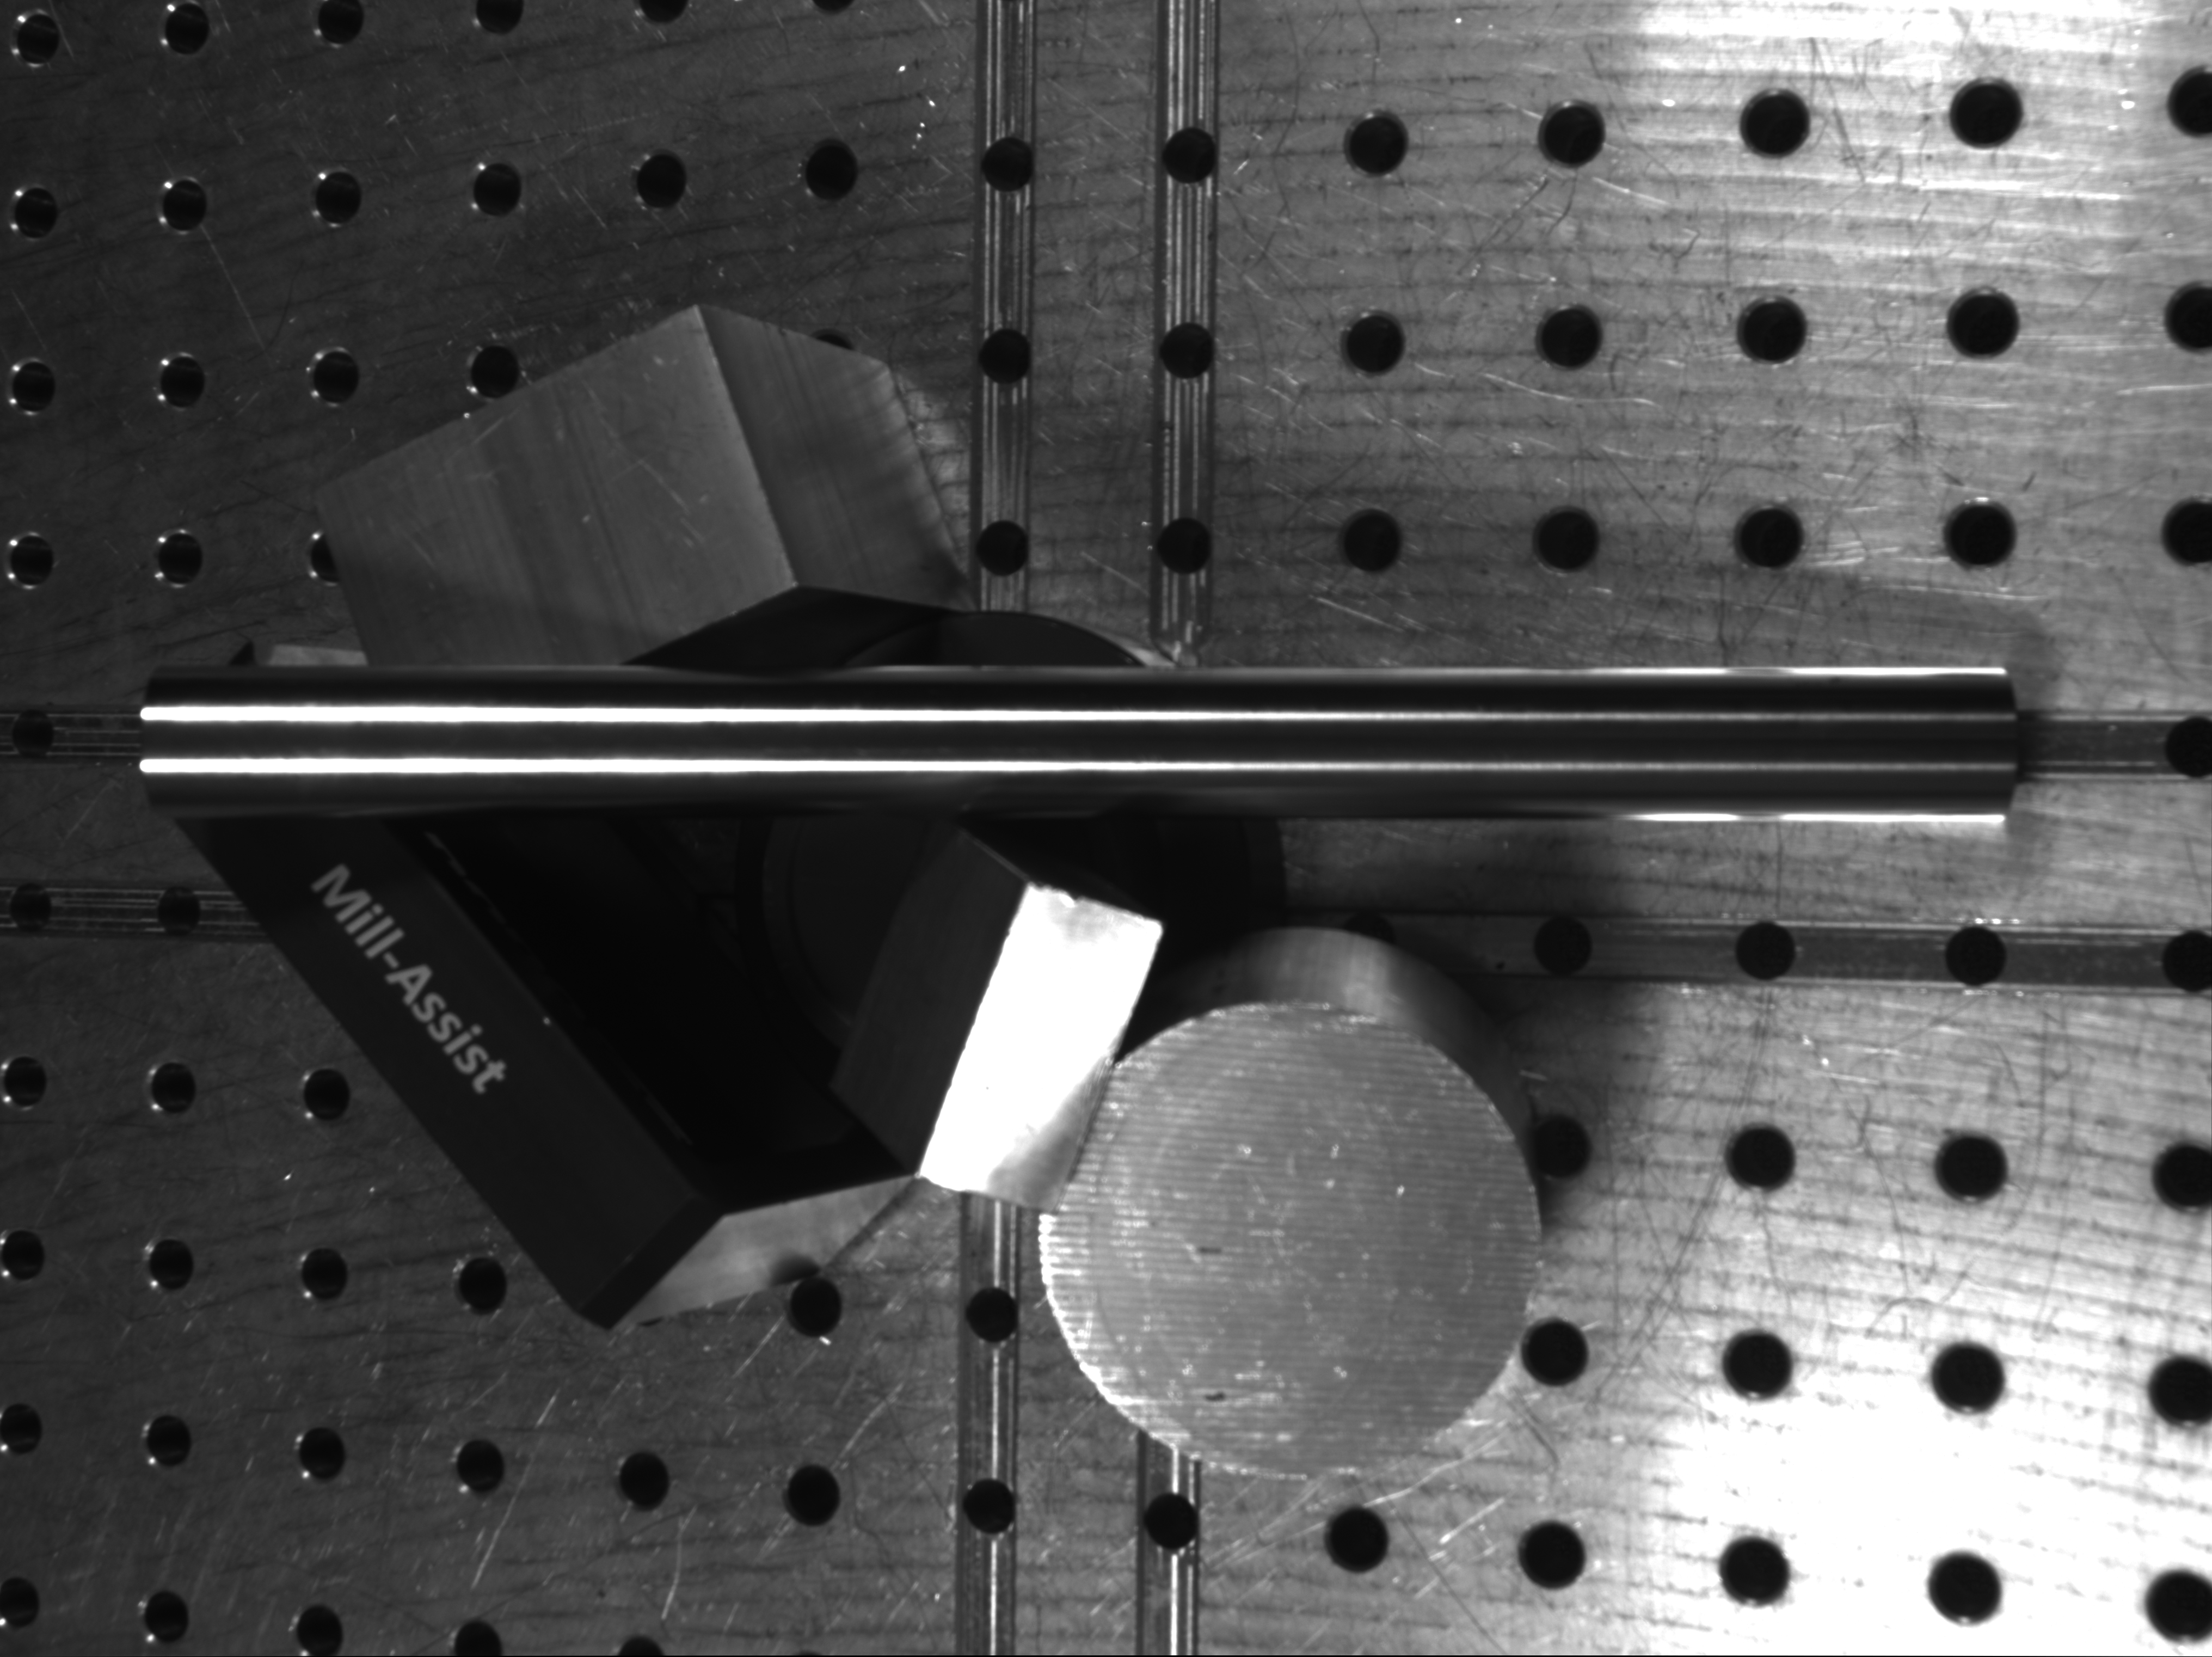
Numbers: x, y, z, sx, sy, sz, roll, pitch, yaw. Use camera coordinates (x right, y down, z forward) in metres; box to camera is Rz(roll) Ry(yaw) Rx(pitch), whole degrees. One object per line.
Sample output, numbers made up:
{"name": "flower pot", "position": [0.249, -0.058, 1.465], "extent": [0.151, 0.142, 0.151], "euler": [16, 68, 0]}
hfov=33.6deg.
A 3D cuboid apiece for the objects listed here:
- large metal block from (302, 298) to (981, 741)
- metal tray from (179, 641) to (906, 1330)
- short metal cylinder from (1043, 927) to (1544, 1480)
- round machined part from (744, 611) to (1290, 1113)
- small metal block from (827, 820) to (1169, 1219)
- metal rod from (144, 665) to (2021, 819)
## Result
{"name": "large metal block", "position": [-0.080, -0.049, 0.645], "extent": [0.080, 0.080, 0.050], "euler": [-22, 82, 18]}
{"name": "metal tray", "position": [-0.100, 0.025, 0.647], "extent": [0.030, 0.090, 0.130], "euler": [-45, 76, 14]}
{"name": "short metal cylinder", "position": [0.032, 0.061, 0.609], "extent": [0.080, 0.050, 0.080], "euler": [1, 102, 5]}
{"name": "round machined part", "position": [-0.020, 0.010, 0.648], "extent": [0.098, 0.042, 0.098], "euler": [0, 90, 20]}
{"name": "small metal block", "position": [-0.018, 0.029, 0.594], "extent": [0.025, 0.050, 0.050], "euler": [19, 96, -23]}
{"name": "metal rod", "position": [-0.004, -0.014, 0.598], "extent": [0.300, 0.025, 0.025], "euler": [0, 90, 0]}
